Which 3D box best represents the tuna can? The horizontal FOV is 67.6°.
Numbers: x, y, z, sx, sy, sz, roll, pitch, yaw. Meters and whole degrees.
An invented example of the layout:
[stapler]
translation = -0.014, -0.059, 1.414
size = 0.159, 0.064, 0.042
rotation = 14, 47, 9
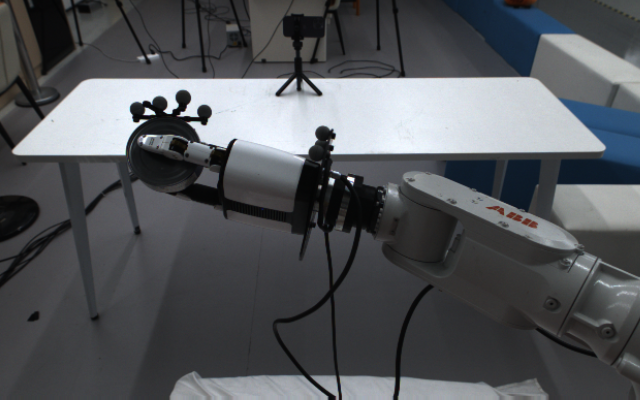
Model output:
[tuna can]
translation = -0.178, -0.051, 0.574
size = 0.085, 0.034, 0.085
rotation = 1, 73, -5
